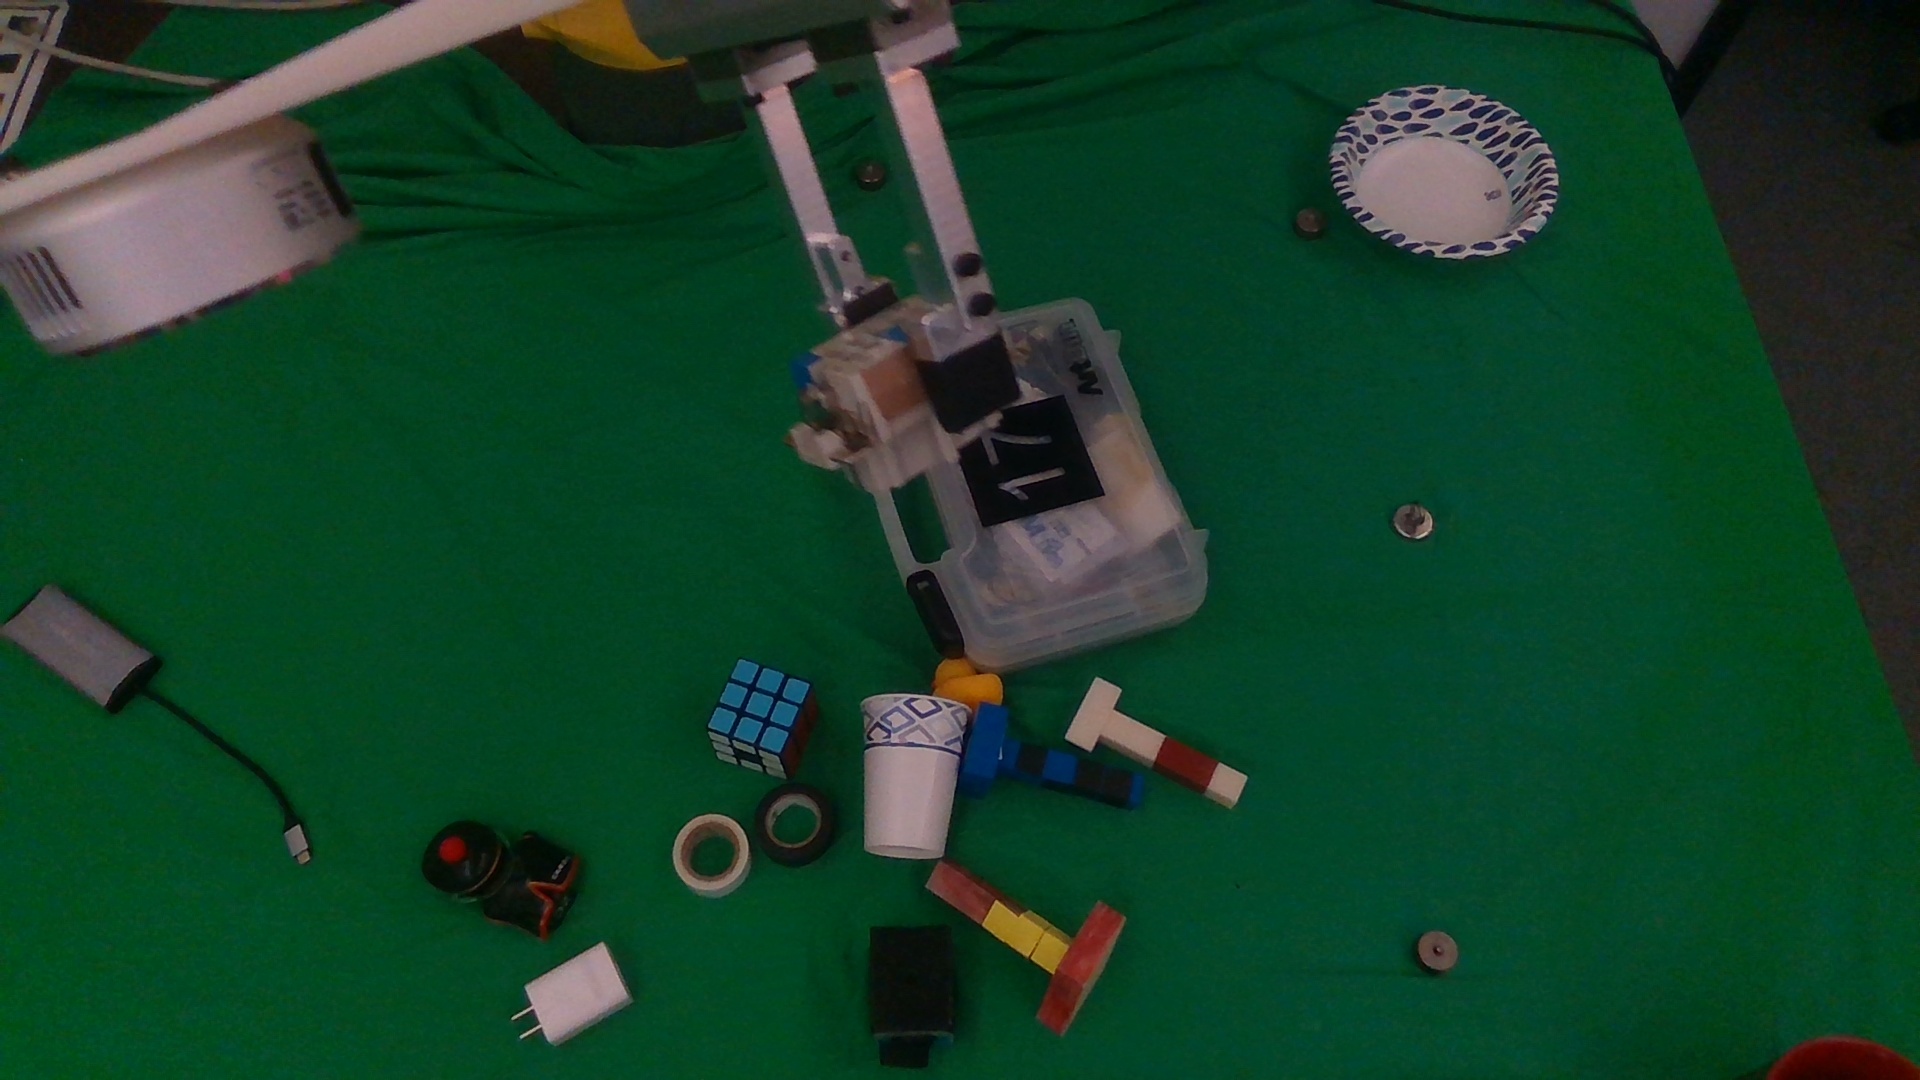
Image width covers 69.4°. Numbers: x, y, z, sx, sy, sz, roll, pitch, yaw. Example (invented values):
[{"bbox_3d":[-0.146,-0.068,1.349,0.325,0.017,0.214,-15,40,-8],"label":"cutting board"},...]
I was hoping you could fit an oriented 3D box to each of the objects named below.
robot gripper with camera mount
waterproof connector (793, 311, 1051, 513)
[{"bbox_3d":[-0.075,-0.059,0.287,0.193,0.158,0.119,-33,23,-31],"label":"robot gripper with camera mount"},{"bbox_3d":[-0.010,-0.033,0.355,0.065,0.037,0.035,-30,23,-21],"label":"waterproof connector"}]
